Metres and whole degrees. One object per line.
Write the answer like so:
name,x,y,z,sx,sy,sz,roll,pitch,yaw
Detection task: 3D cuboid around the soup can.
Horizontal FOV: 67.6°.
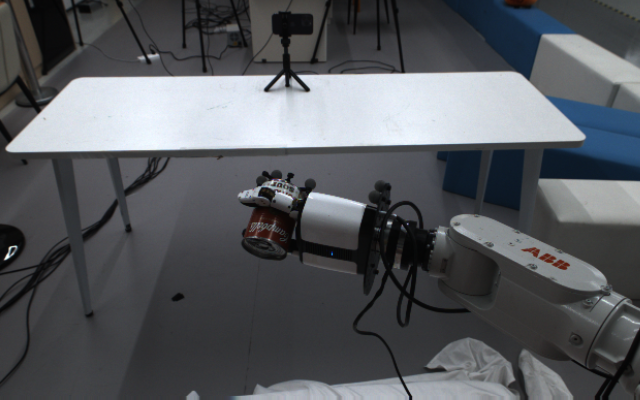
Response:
soup can,-0.067,0.028,0.705,0.067,0.067,0.101,9,58,10
